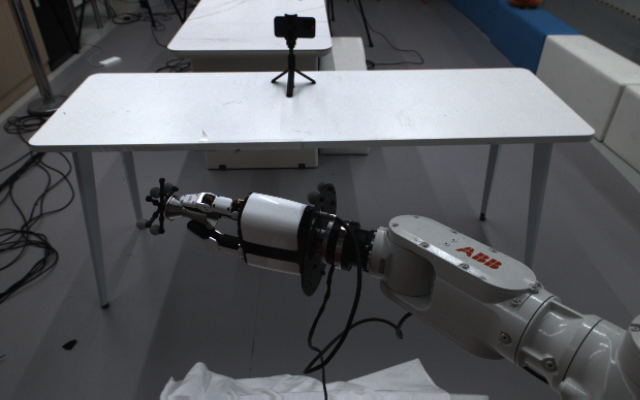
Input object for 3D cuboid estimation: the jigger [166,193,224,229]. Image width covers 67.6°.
[{"bbox_3d":[-0.185,0.014,0.724,0.071,0.043,0.043,9,35,12],"label":"jigger"}]
